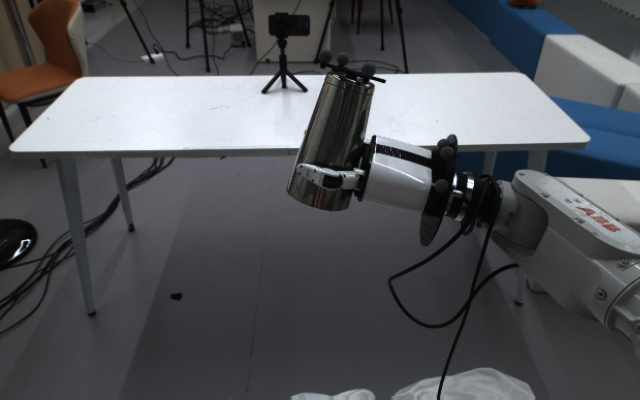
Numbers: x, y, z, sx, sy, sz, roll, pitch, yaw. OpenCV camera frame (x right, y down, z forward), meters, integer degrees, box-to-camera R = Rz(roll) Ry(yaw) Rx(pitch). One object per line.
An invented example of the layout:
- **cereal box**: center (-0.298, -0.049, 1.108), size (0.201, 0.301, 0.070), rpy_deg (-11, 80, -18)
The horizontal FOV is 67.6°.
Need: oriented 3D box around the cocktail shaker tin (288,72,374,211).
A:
- **cocktail shaker tin**: center (0.019, -0.082, 0.659), size (0.093, 0.170, 0.093), rpy_deg (14, 20, -5)
